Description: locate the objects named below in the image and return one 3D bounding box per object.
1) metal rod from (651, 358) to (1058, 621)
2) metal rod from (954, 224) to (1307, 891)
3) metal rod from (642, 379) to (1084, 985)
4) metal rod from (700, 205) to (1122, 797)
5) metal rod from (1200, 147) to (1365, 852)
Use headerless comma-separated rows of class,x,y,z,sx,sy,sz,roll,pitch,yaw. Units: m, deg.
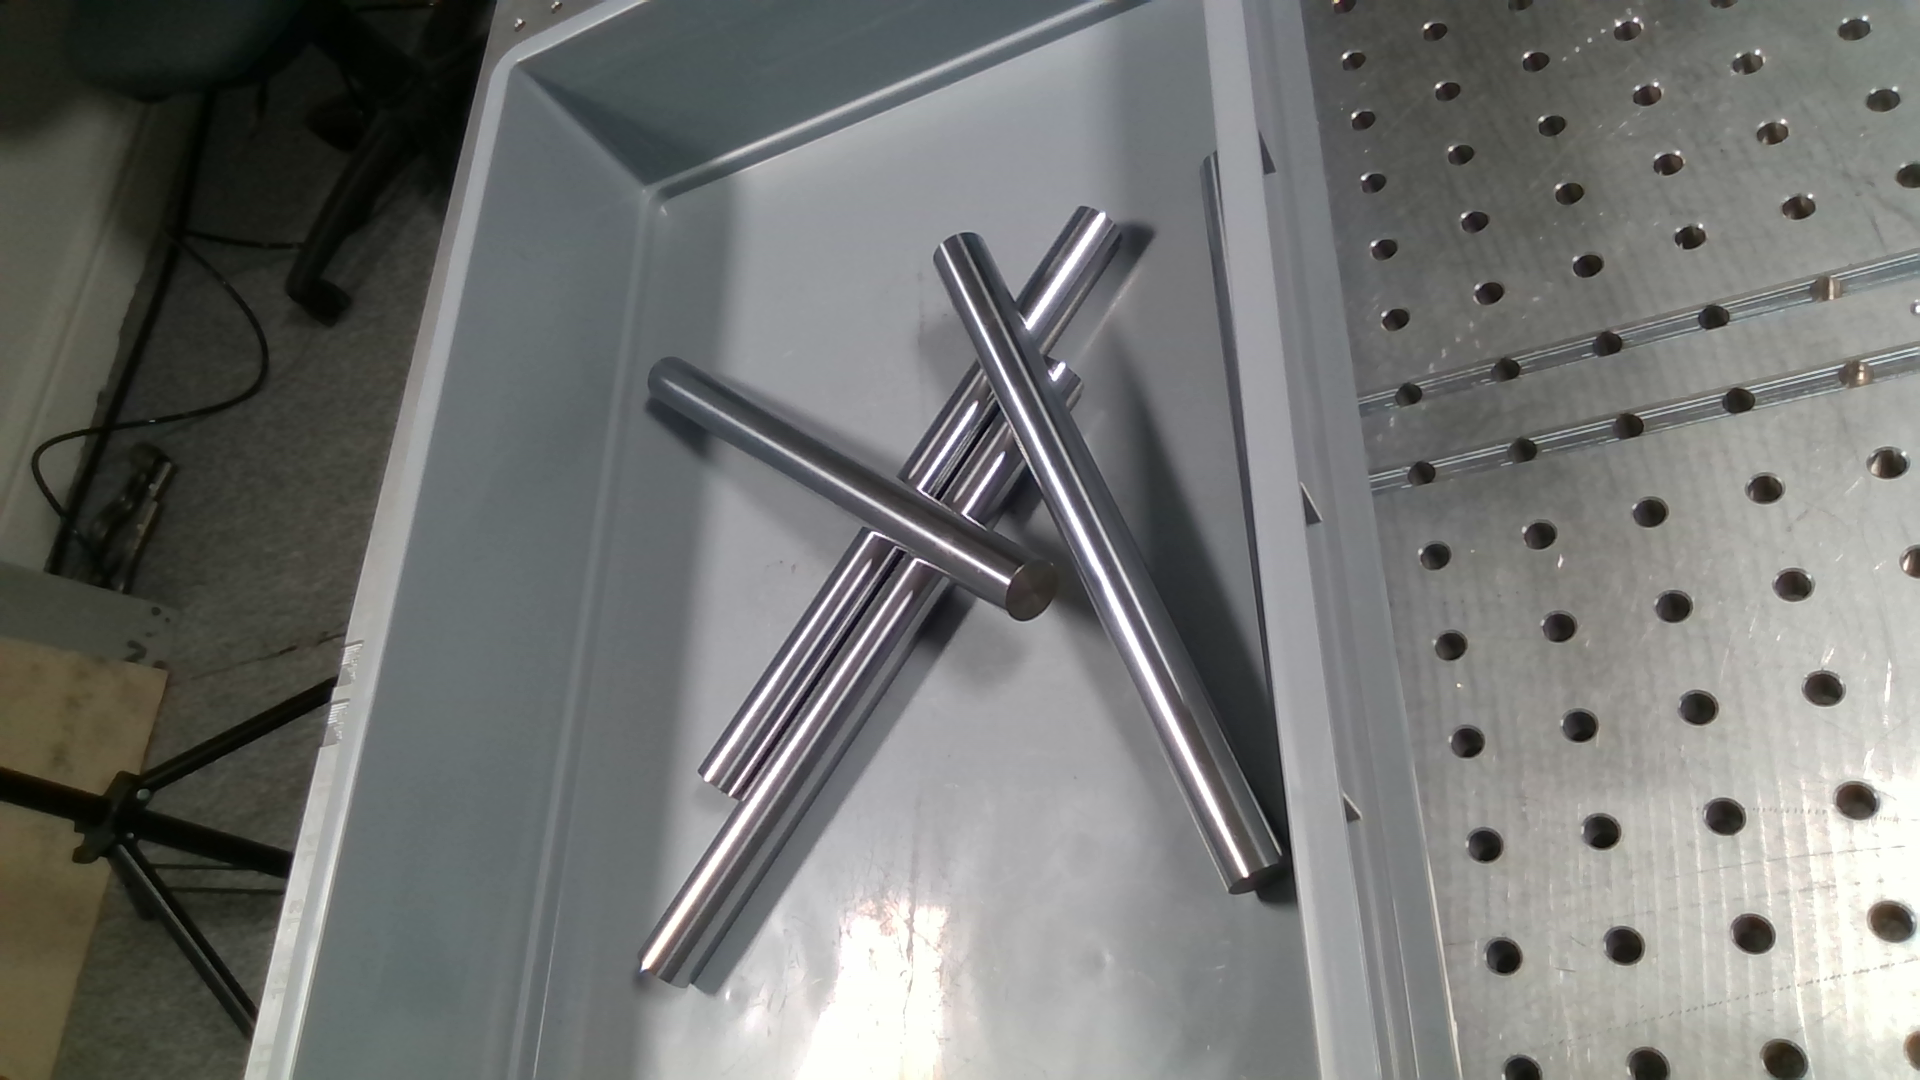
metal rod,-0.063,-0.033,0.615,0.299,0.025,0.025,30,83,47
metal rod,0.057,-0.009,0.535,0.025,0.025,0.299,-30,60,15
metal rod,-0.039,0.051,0.582,0.025,0.025,0.300,29,83,39
metal rod,-0.020,-0.019,0.607,0.025,0.025,0.300,29,83,39
metal rod,0.119,-0.030,0.528,0.025,0.025,0.299,-15,58,24
